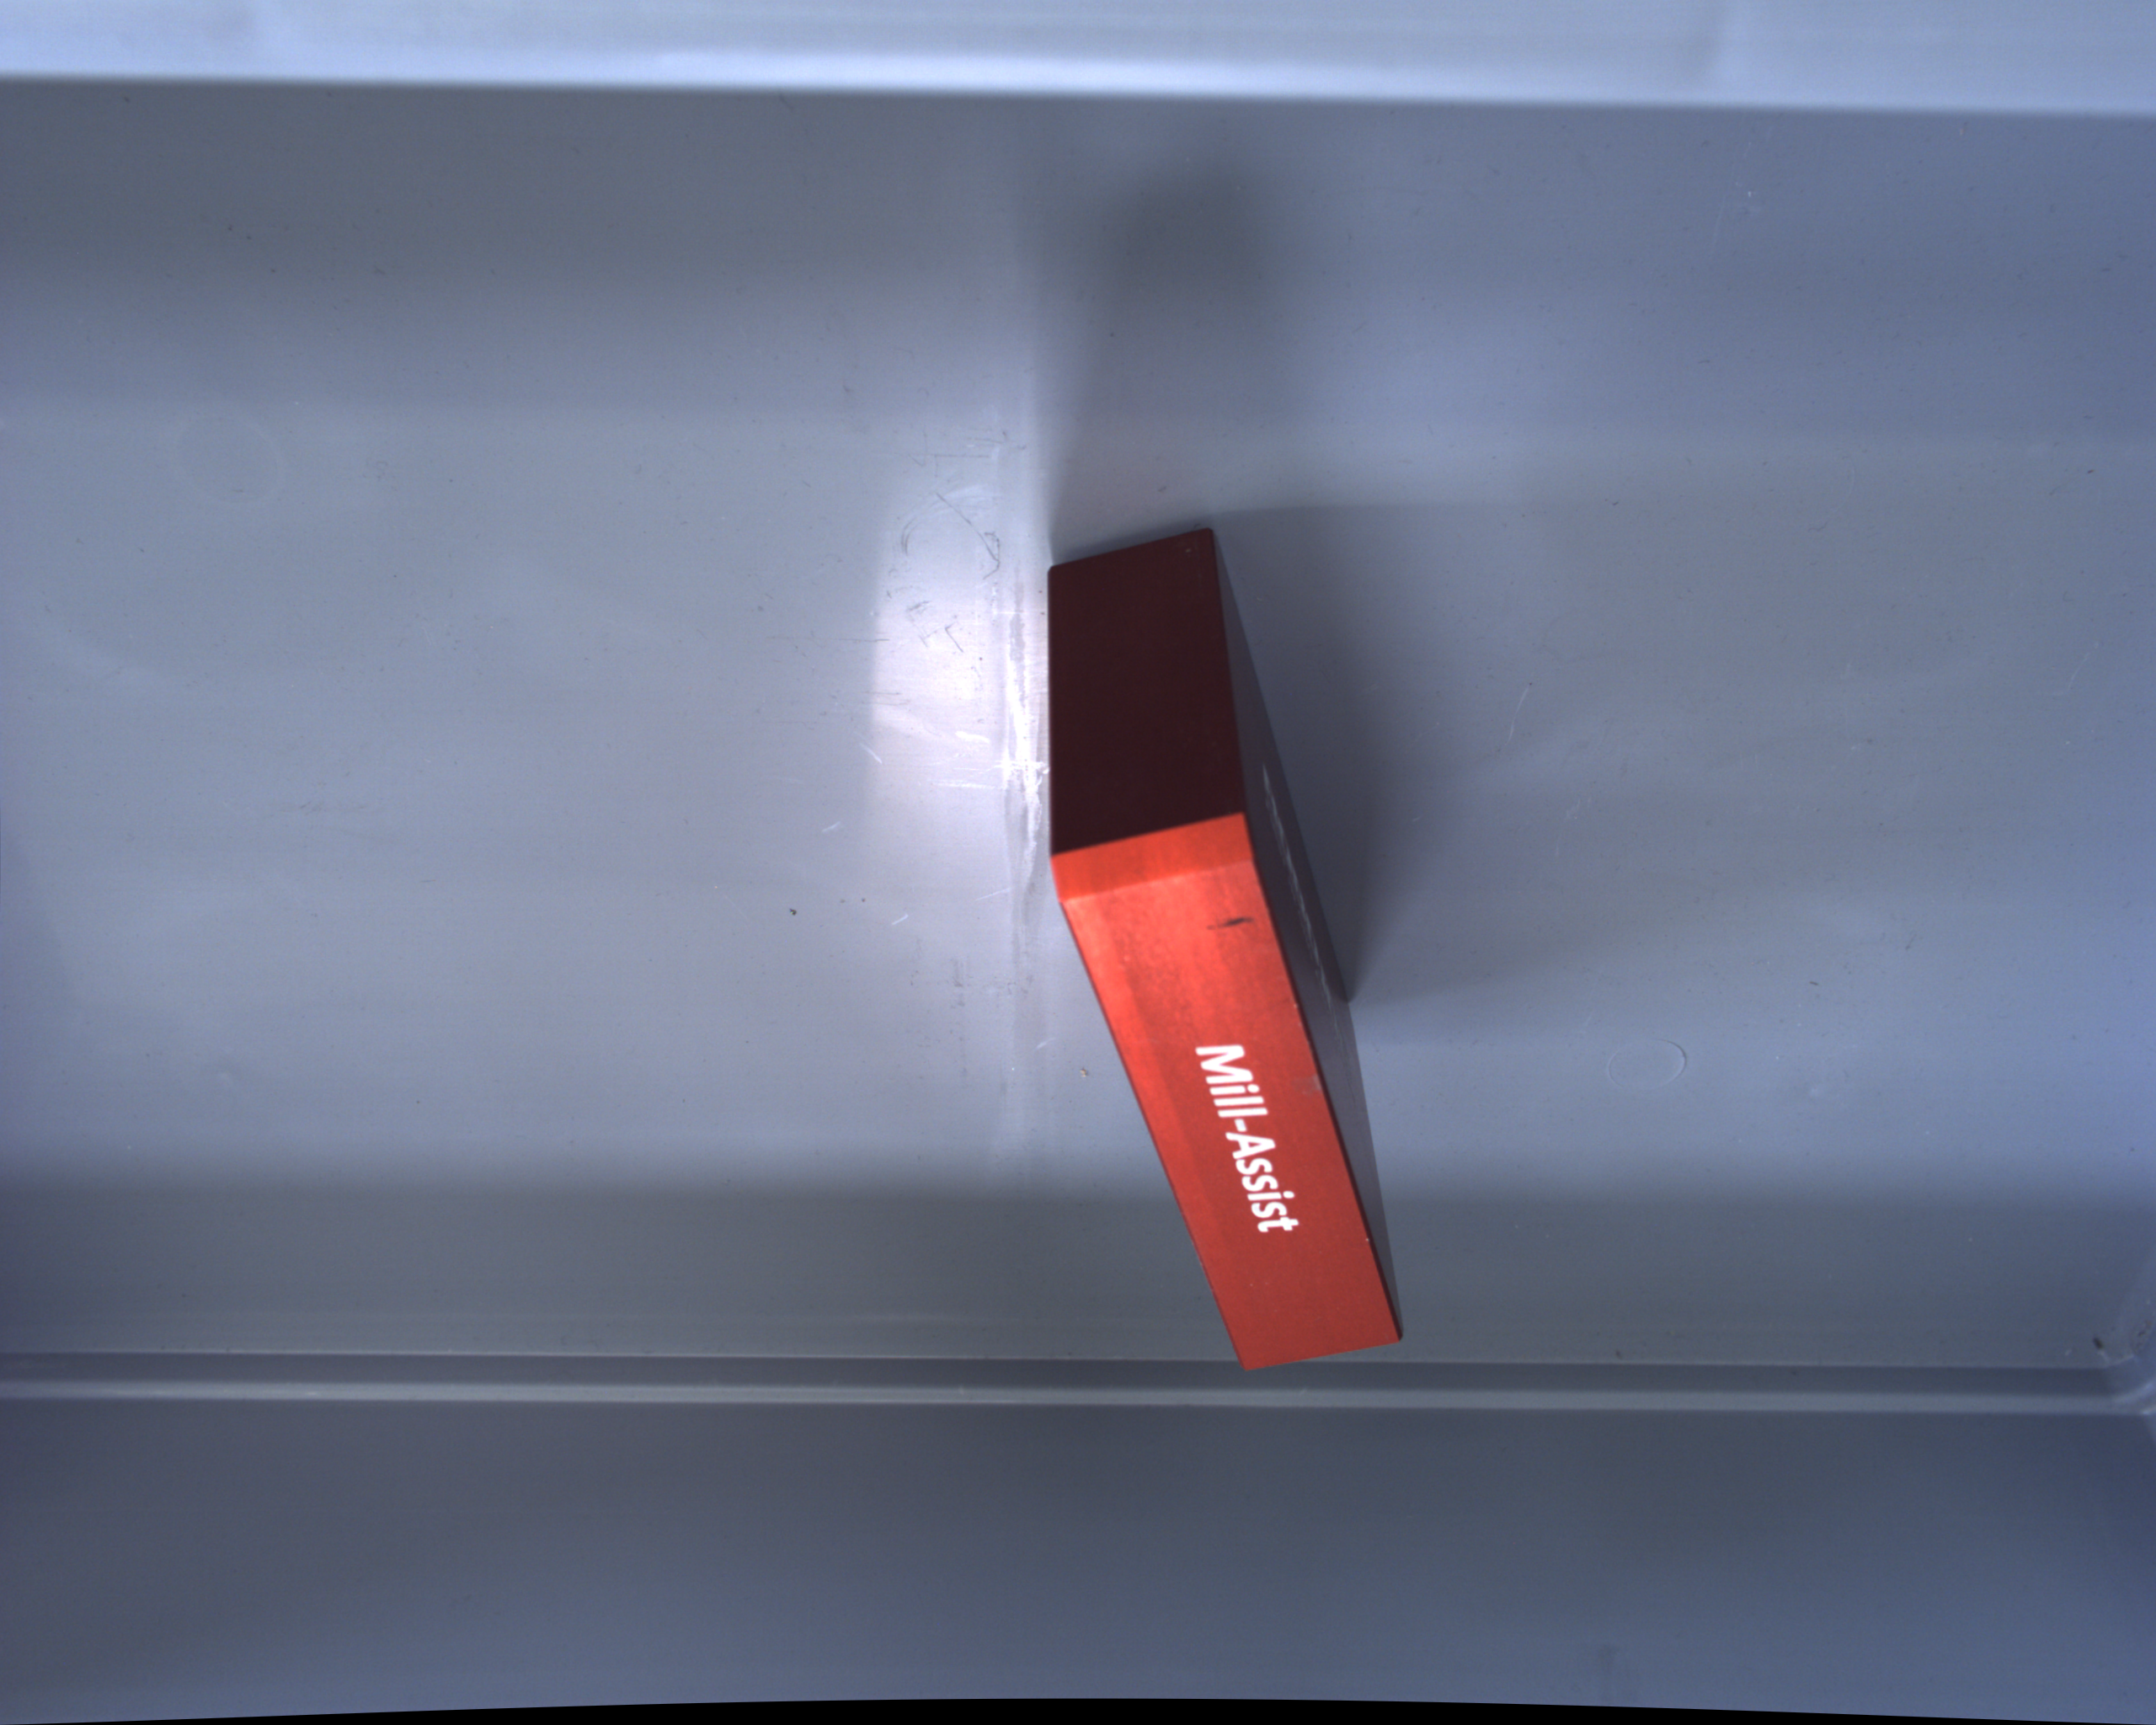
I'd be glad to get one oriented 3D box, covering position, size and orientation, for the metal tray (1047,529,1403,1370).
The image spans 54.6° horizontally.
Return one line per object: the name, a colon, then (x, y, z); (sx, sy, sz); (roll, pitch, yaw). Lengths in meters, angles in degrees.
metal tray: (0.027, 0.018, 0.378); (0.030, 0.090, 0.130); (-13, 129, 9)
